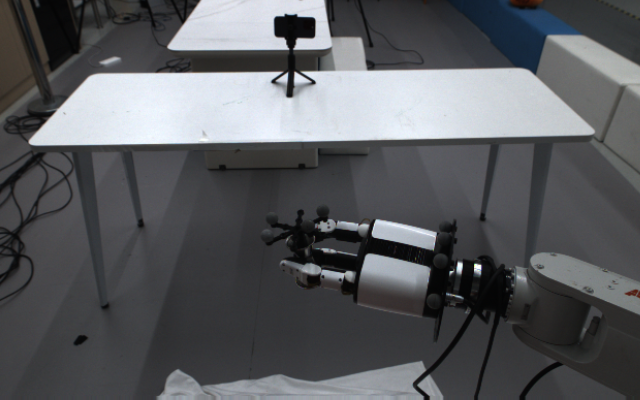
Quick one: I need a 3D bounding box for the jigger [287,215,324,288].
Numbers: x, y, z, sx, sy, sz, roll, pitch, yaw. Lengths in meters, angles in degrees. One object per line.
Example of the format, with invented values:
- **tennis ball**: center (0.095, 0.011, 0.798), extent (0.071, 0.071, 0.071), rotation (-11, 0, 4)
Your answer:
- **jigger**: center (-0.018, 0.081, 0.659), extent (0.043, 0.071, 0.043), rotation (-10, 32, 6)
